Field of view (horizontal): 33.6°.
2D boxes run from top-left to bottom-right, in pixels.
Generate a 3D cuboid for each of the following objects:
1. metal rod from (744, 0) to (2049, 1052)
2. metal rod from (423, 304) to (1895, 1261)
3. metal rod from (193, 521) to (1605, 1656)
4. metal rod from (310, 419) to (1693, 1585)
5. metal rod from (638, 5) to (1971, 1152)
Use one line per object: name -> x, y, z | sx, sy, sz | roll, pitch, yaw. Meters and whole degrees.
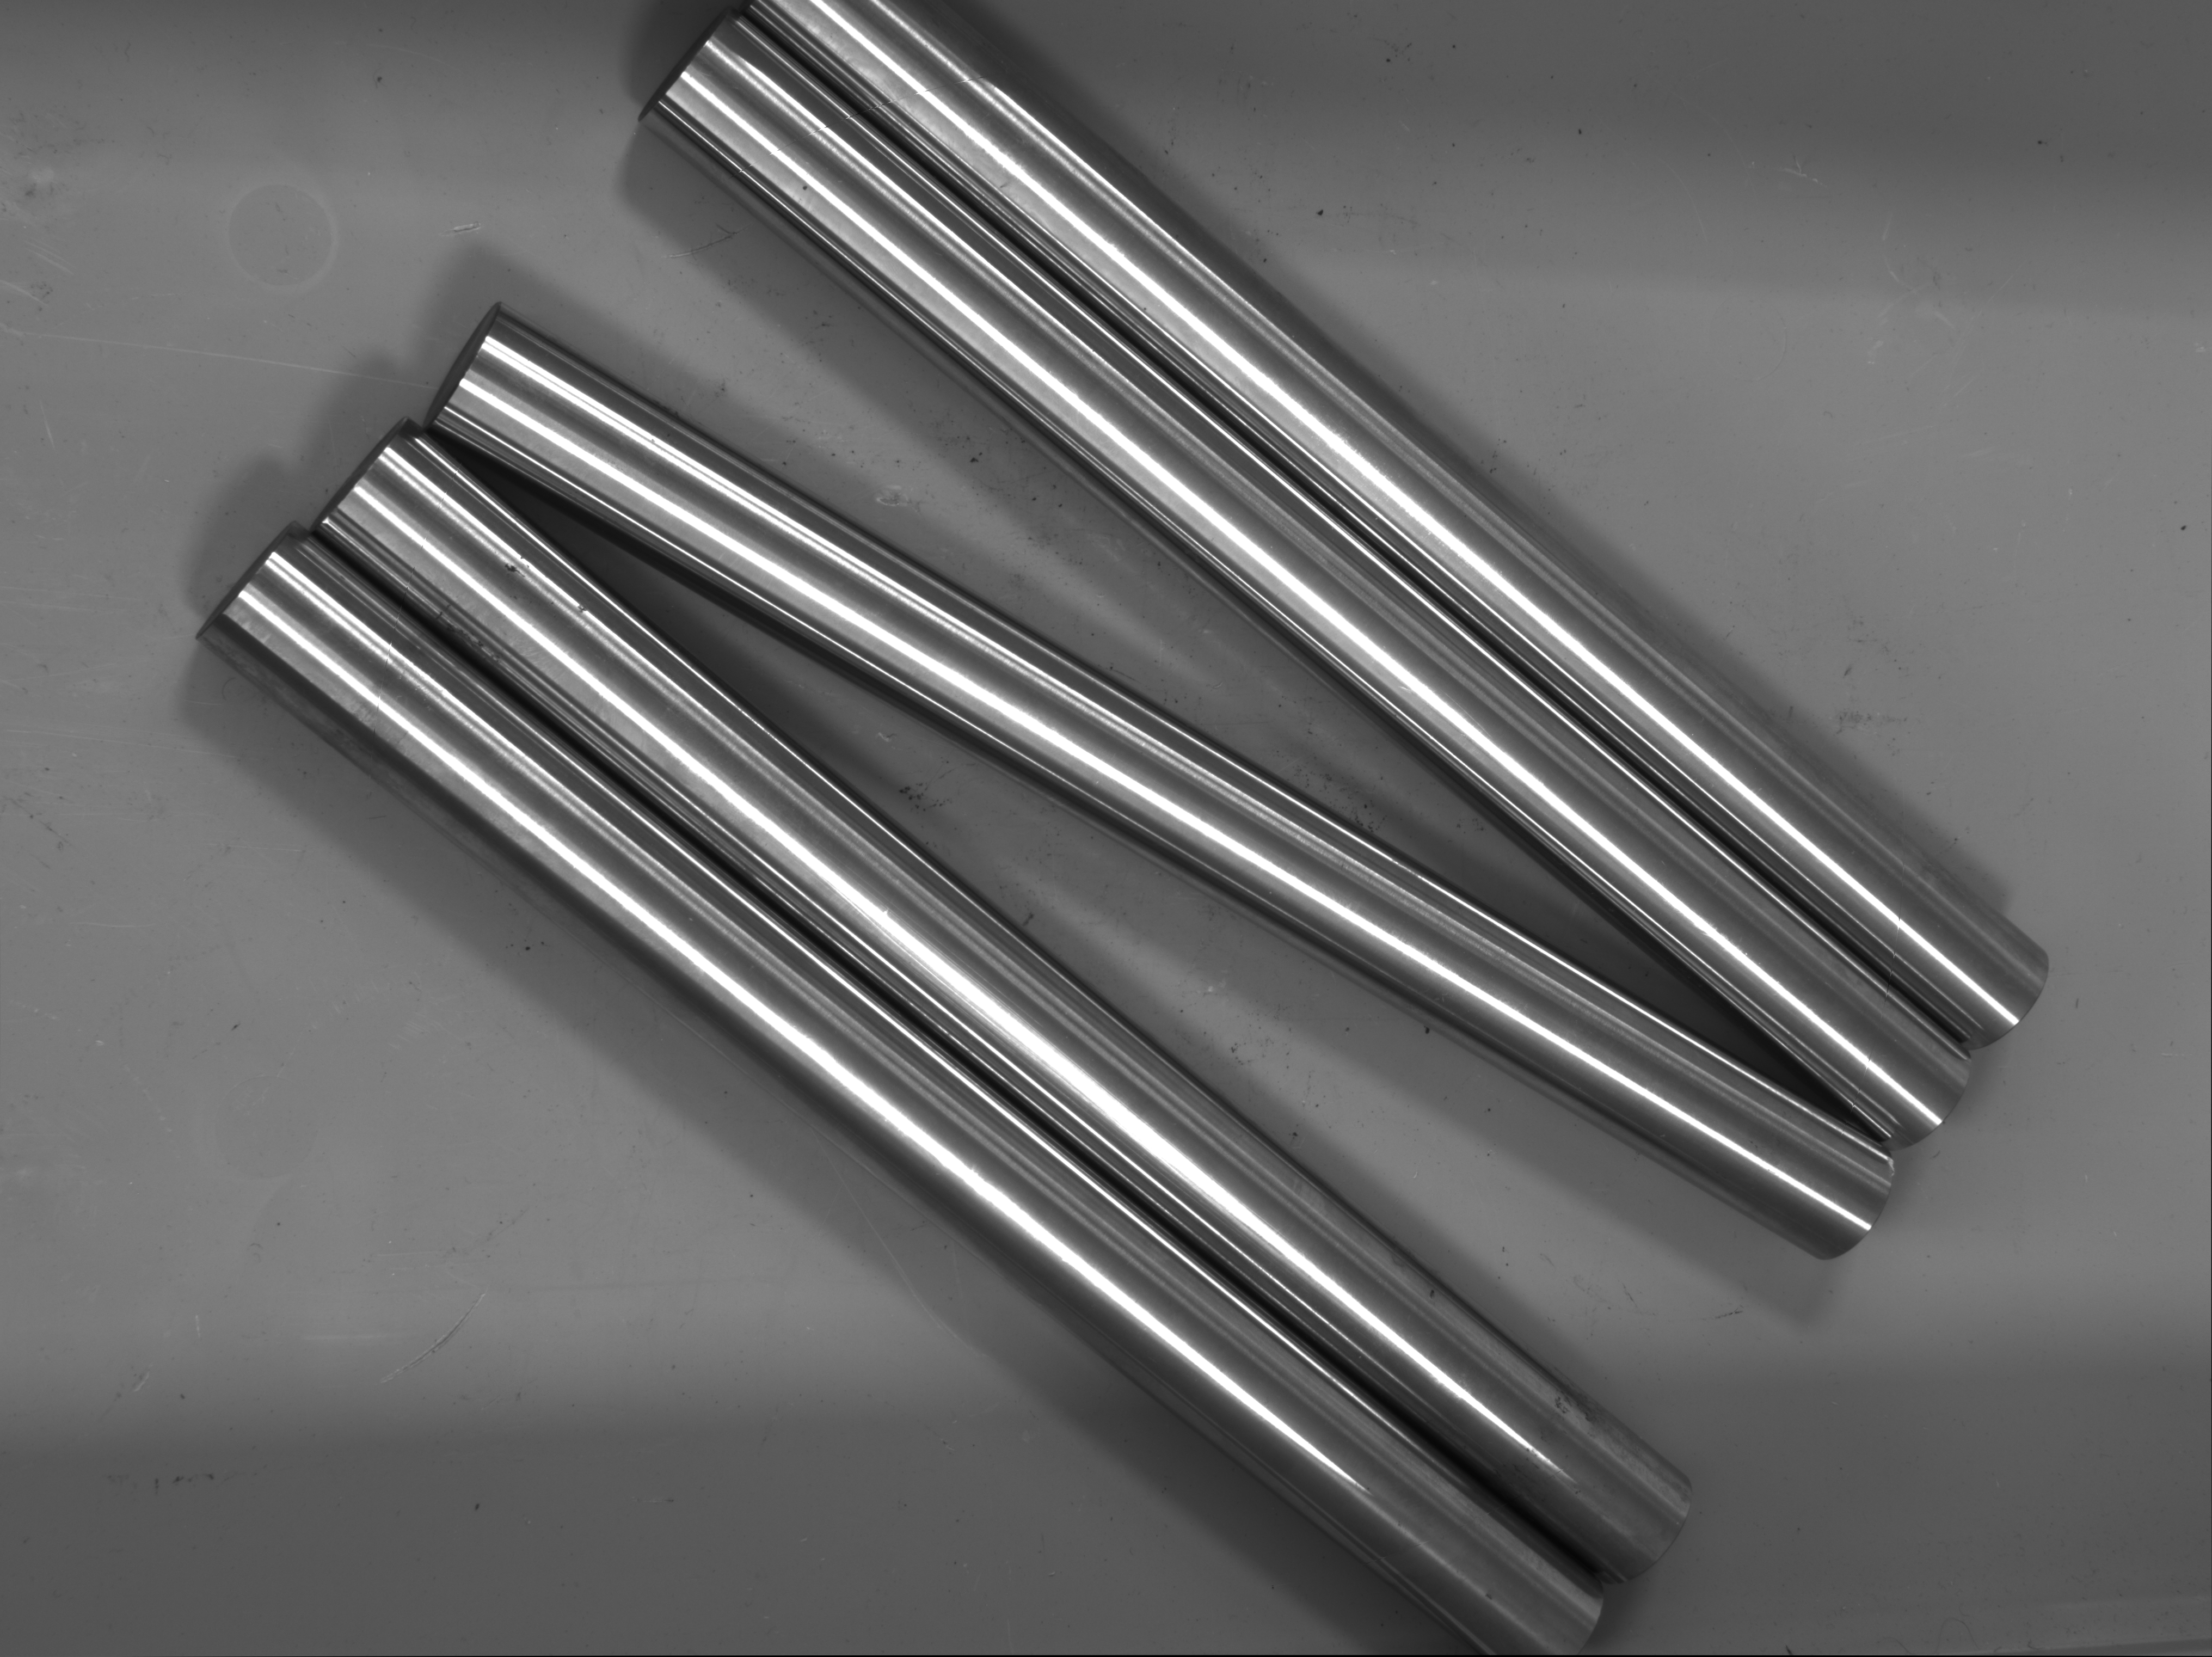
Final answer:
metal rod -> 0.058, -0.057, 0.663 | 0.301, 0.025, 0.025 | 39, 78, -16
metal rod -> 0.017, -0.003, 0.648 | 0.301, 0.025, 0.025 | 31, 80, -17
metal rod -> -0.028, 0.053, 0.632 | 0.300, 0.025, 0.025 | 40, 77, -15
metal rod -> -0.011, 0.036, 0.638 | 0.300, 0.025, 0.025 | 40, 77, -15
metal rod -> 0.042, -0.039, 0.657 | 0.301, 0.025, 0.025 | 39, 78, -16
